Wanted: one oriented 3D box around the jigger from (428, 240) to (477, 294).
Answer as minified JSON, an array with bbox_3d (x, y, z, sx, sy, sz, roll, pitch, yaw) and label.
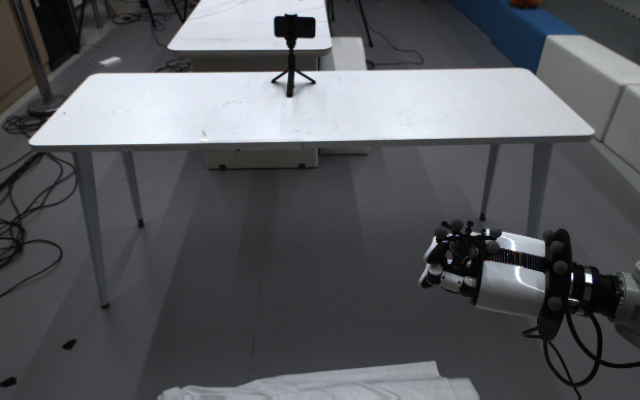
[{"bbox_3d":[0.204,0.094,0.706,0.043,0.071,0.043,4,31,-2],"label":"jigger"}]
